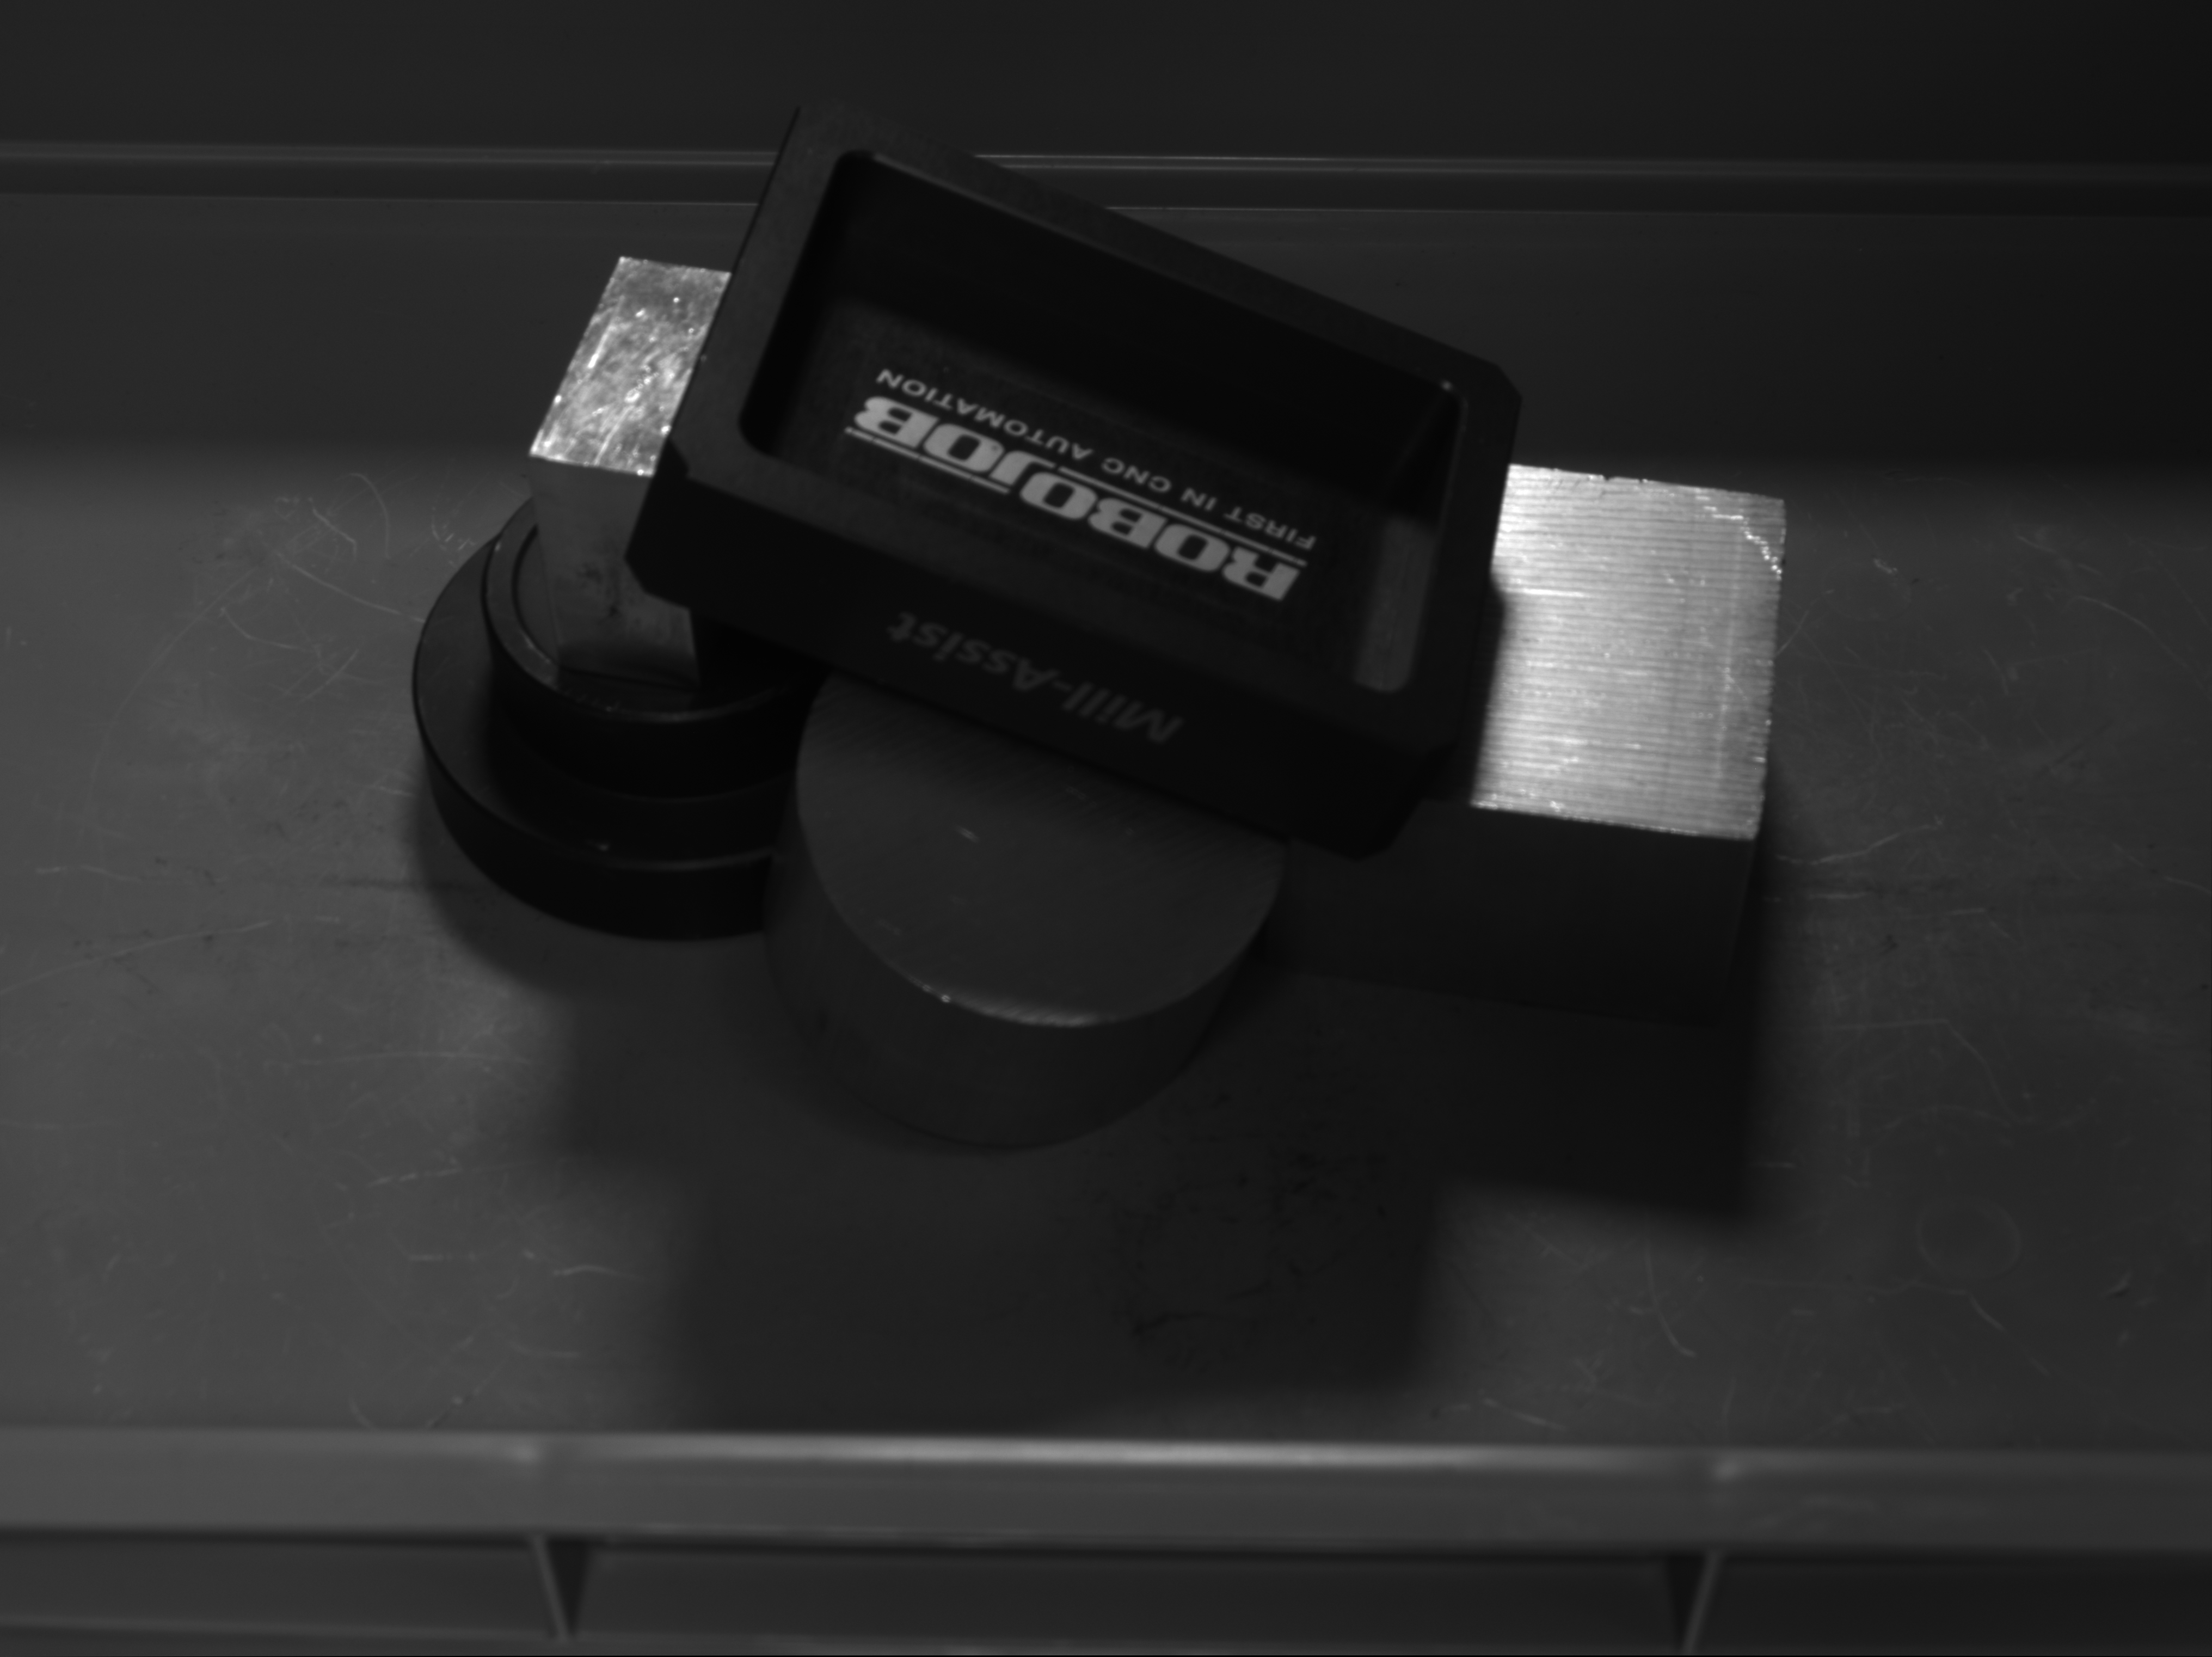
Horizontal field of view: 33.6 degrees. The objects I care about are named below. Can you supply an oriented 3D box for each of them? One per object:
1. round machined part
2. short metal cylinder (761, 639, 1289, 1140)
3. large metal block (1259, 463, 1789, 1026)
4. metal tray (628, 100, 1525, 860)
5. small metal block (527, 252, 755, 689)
[{"bbox_3d":[-0.075,-0.031,0.655,0.098,0.042,0.098,0,50,0],"label":"round machined part"},{"bbox_3d":[-0.014,0.005,0.605,0.080,0.050,0.080,5,62,-10],"label":"short metal cylinder"},{"bbox_3d":[0.073,-0.018,0.638,0.080,0.050,0.080,8,50,6],"label":"large metal block"},{"bbox_3d":[-0.002,-0.058,0.594,0.130,0.030,0.090,21,50,-8],"label":"metal tray"},{"bbox_3d":[-0.075,-0.061,0.620,0.025,0.050,0.050,9,50,8],"label":"small metal block"}]
